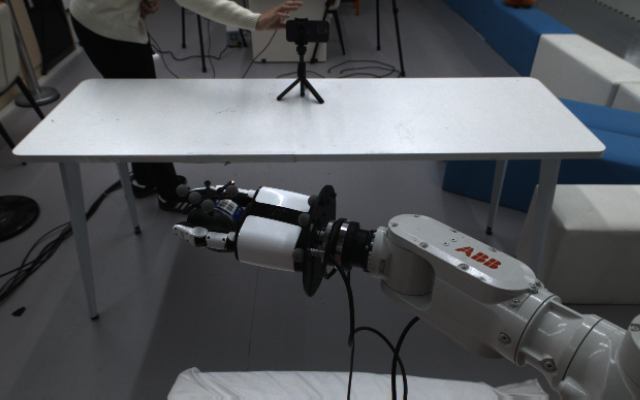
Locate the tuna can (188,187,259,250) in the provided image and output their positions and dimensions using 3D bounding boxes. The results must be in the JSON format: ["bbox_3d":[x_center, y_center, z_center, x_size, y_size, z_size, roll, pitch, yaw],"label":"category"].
[{"bbox_3d":[-0.142,0.035,0.710,0.085,0.085,0.034,10,38,12],"label":"tuna can"}]
